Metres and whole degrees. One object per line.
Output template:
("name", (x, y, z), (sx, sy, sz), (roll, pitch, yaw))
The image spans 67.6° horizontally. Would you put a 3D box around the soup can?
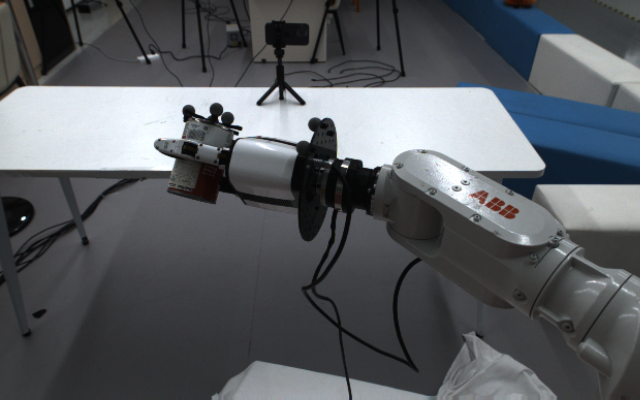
("soup can", (-0.160, -0.050, 0.652), (0.067, 0.101, 0.067), (13, -6, 1))
